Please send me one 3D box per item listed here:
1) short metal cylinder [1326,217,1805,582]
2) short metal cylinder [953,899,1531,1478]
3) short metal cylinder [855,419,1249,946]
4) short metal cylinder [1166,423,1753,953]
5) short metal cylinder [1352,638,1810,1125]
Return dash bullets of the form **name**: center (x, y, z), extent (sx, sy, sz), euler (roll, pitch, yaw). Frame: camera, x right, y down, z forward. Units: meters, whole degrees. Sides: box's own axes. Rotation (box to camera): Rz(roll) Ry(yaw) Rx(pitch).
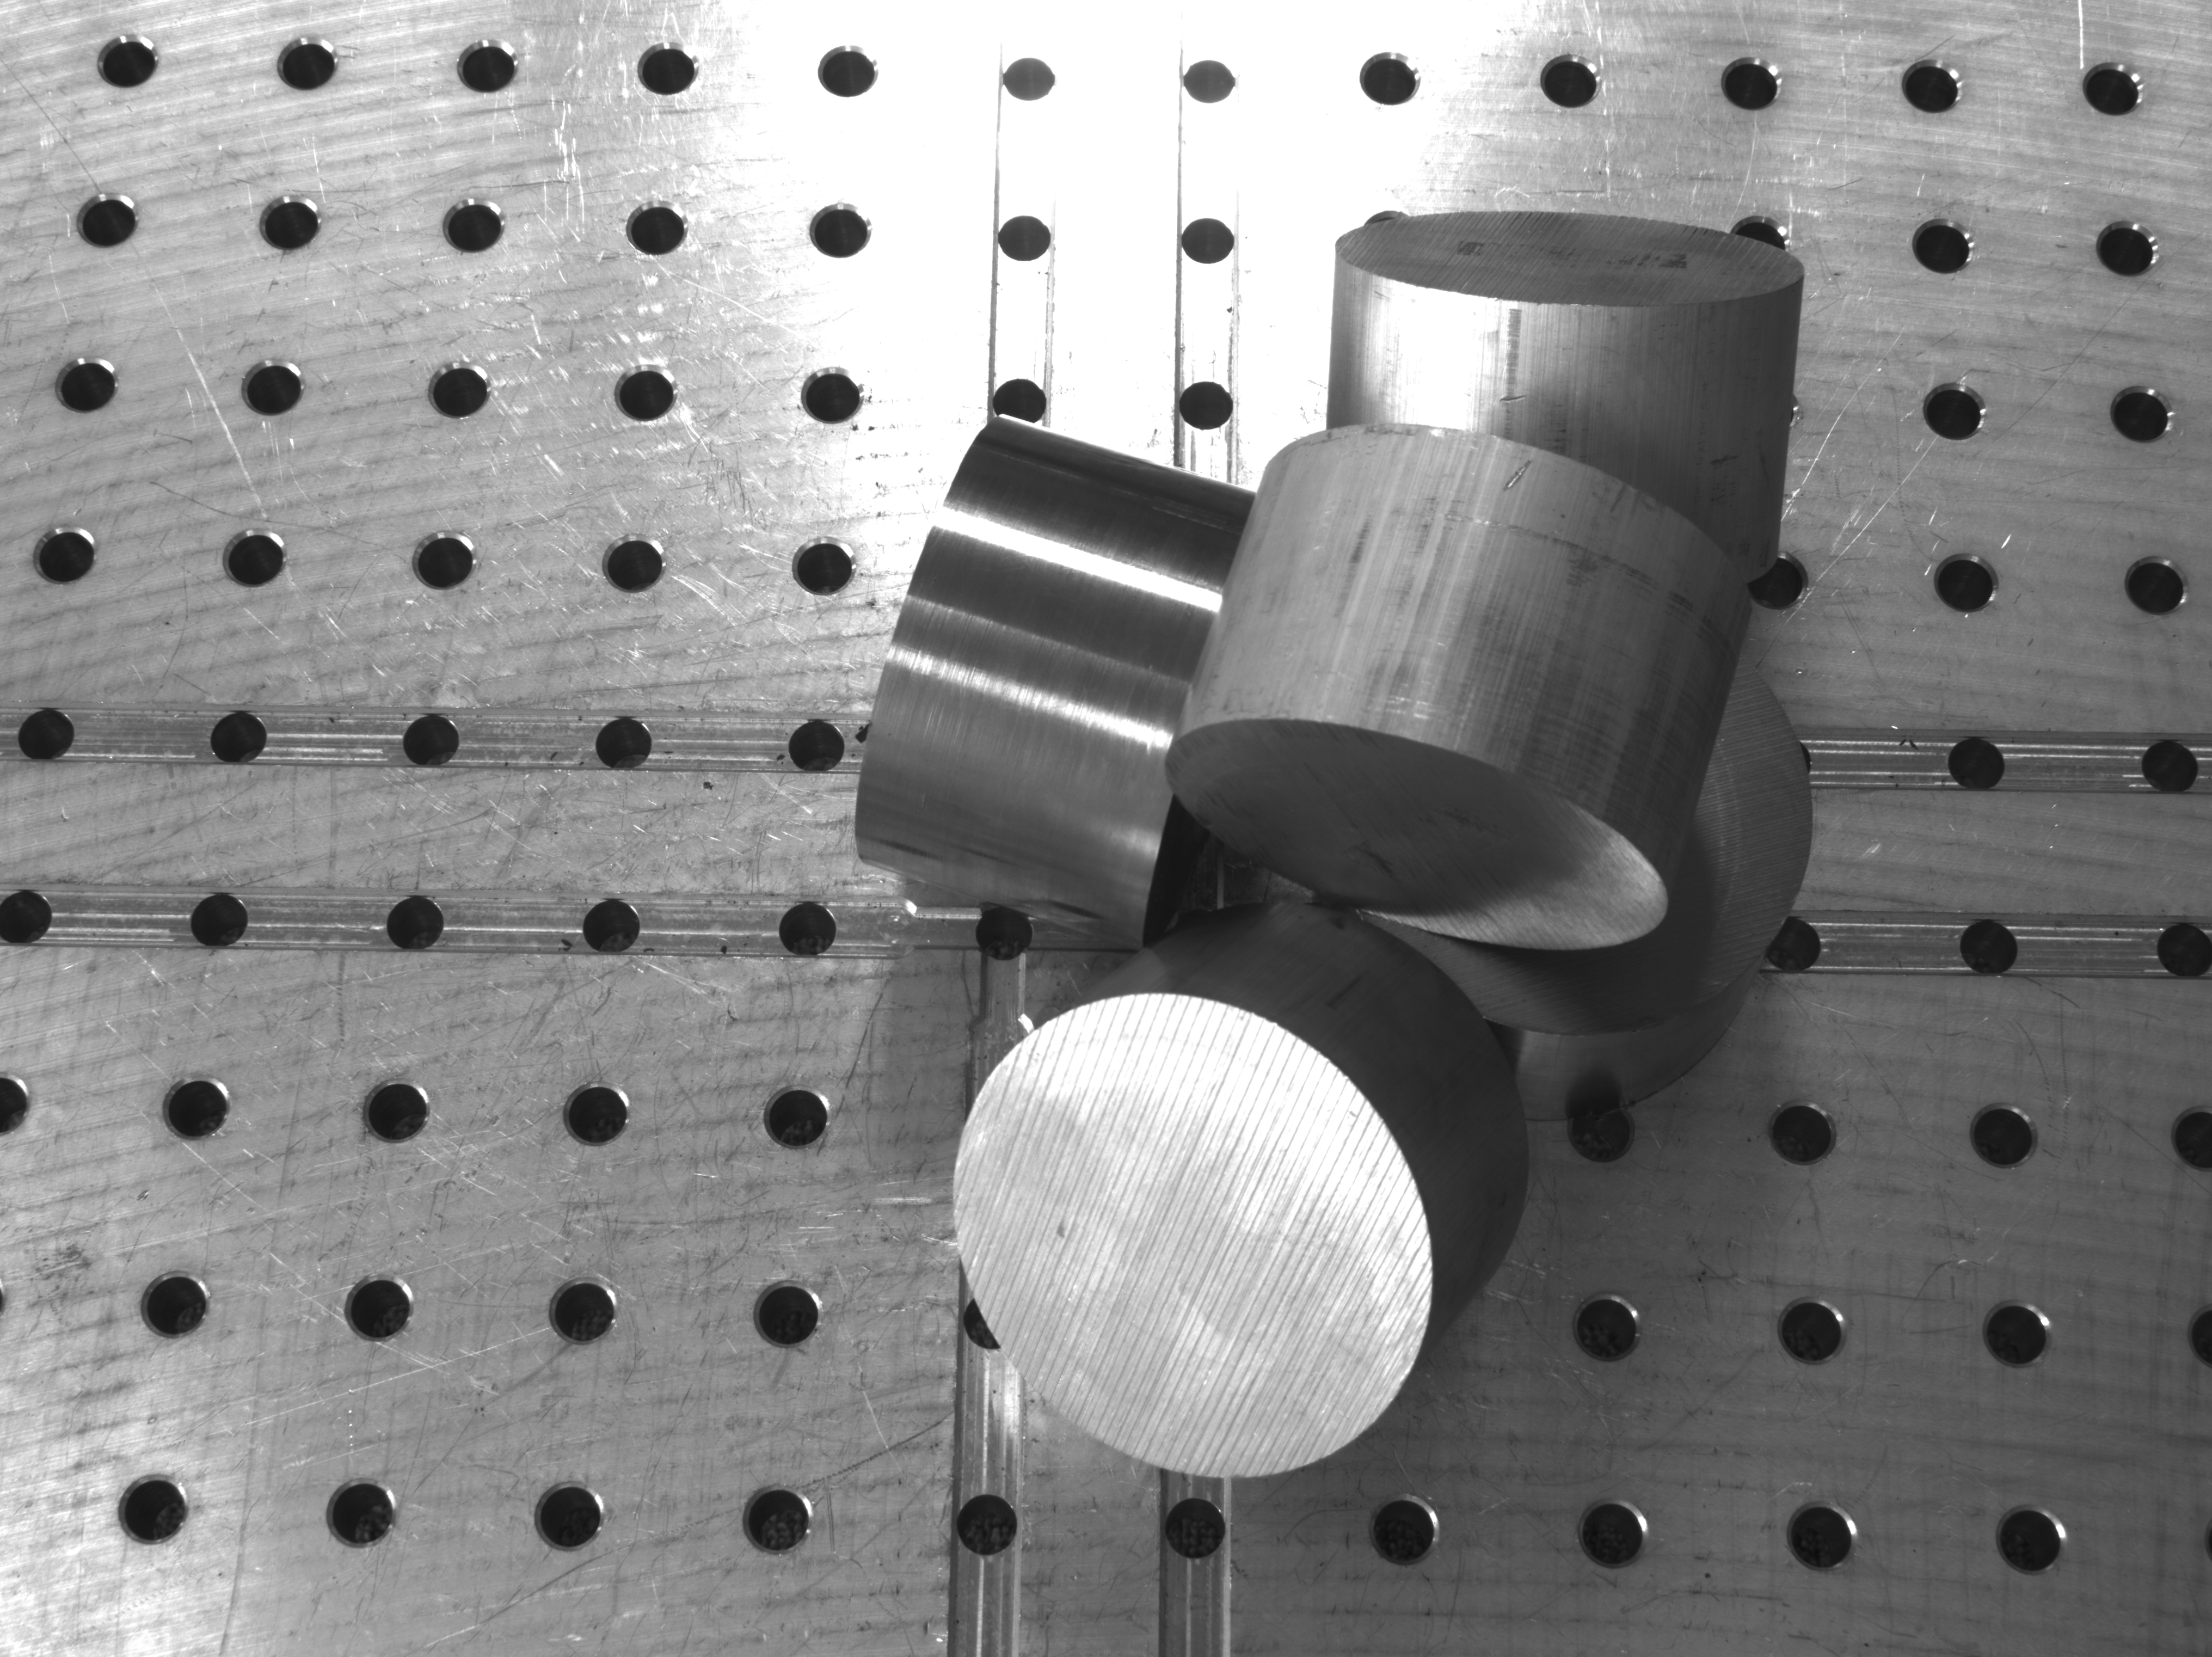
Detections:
- **short metal cylinder**: center (0.078, -0.074, 0.638), extent (0.080, 0.080, 0.050), euler (2, 110, 1)
- **short metal cylinder**: center (0.022, 0.057, 0.592), extent (0.080, 0.050, 0.080), euler (7, 108, 22)
- **short metal cylinder**: center (-0.005, -0.024, 0.627), extent (0.050, 0.080, 0.080), euler (18, 71, 7)
- **short metal cylinder**: center (0.055, -0.020, 0.572), extent (0.080, 0.080, 0.050), euler (16, 71, 6)
- **short metal cylinder**: center (0.077, 0.005, 0.632), extent (0.080, 0.050, 0.080), euler (0, 69, 1)
